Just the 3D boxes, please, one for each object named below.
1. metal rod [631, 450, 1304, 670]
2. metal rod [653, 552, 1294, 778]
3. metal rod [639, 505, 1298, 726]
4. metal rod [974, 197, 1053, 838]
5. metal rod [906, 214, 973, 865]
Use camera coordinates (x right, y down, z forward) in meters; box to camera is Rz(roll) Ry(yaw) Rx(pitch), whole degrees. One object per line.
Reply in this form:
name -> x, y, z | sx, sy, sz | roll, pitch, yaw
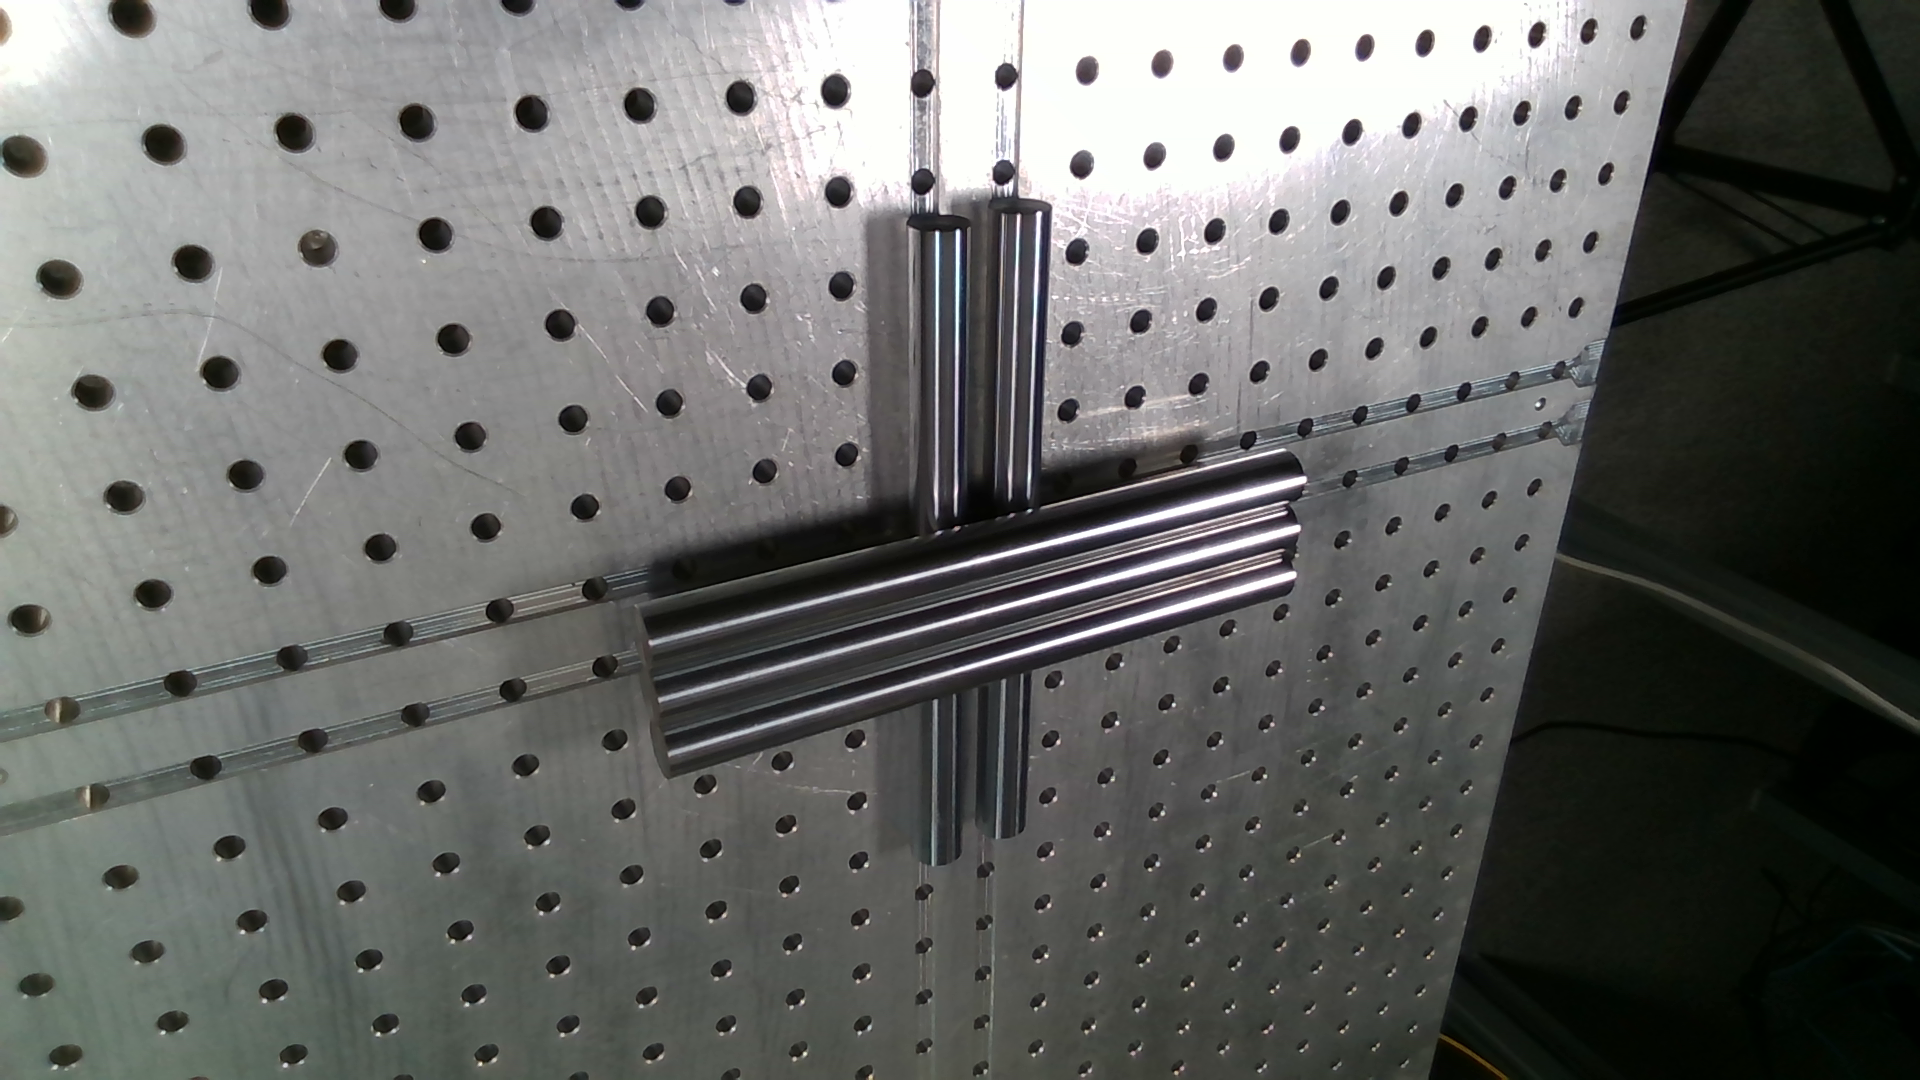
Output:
metal rod -> 0.016, 0.003, 0.563 | 0.300, 0.025, 0.025 | -14, 121, -25
metal rod -> 0.018, 0.046, 0.588 | 0.300, 0.025, 0.025 | -14, 121, -25
metal rod -> 0.017, 0.025, 0.576 | 0.300, 0.025, 0.025 | -14, 121, -25
metal rod -> 0.021, 0.004, 0.599 | 0.025, 0.025, 0.301 | -14, 121, -25
metal rod -> -0.010, 0.014, 0.586 | 0.025, 0.025, 0.301 | -14, 121, -25
